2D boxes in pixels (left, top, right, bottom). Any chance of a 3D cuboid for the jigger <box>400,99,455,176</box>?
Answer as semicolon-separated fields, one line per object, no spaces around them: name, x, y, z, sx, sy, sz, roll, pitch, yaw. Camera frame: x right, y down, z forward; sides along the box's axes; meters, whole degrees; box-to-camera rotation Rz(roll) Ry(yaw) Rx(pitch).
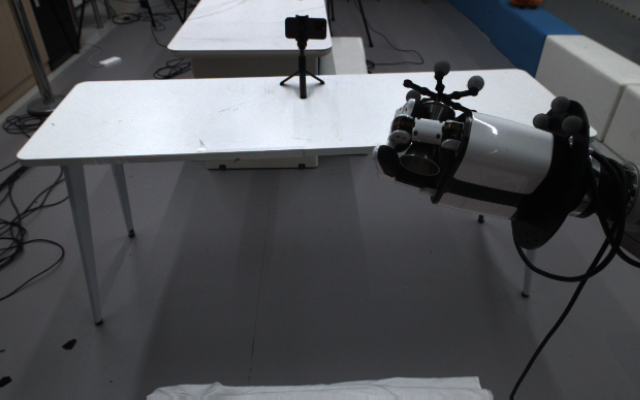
jigger;0.117;-0.067;0.515;0.043;0.043;0.071;14;70;17
